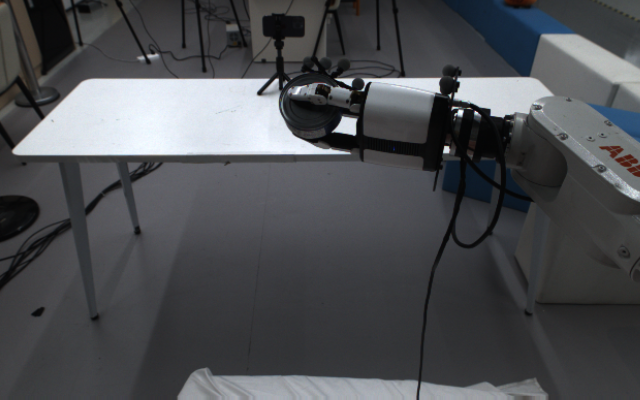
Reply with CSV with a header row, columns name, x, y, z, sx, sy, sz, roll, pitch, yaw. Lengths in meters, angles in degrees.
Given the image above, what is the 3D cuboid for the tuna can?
name,x,y,z,sx,sy,sz,roll,pitch,yaw
tuna can,-0.011,-0.129,0.663,0.085,0.034,0.085,-2,71,6
